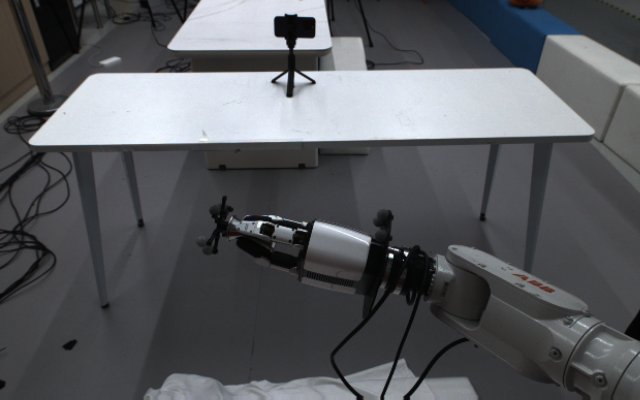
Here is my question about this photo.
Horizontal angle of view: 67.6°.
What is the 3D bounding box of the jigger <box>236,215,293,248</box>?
[{"bbox_3d":[-0.091,0.045,0.706,0.071,0.043,0.043,13,36,4],"label":"jigger"}]
